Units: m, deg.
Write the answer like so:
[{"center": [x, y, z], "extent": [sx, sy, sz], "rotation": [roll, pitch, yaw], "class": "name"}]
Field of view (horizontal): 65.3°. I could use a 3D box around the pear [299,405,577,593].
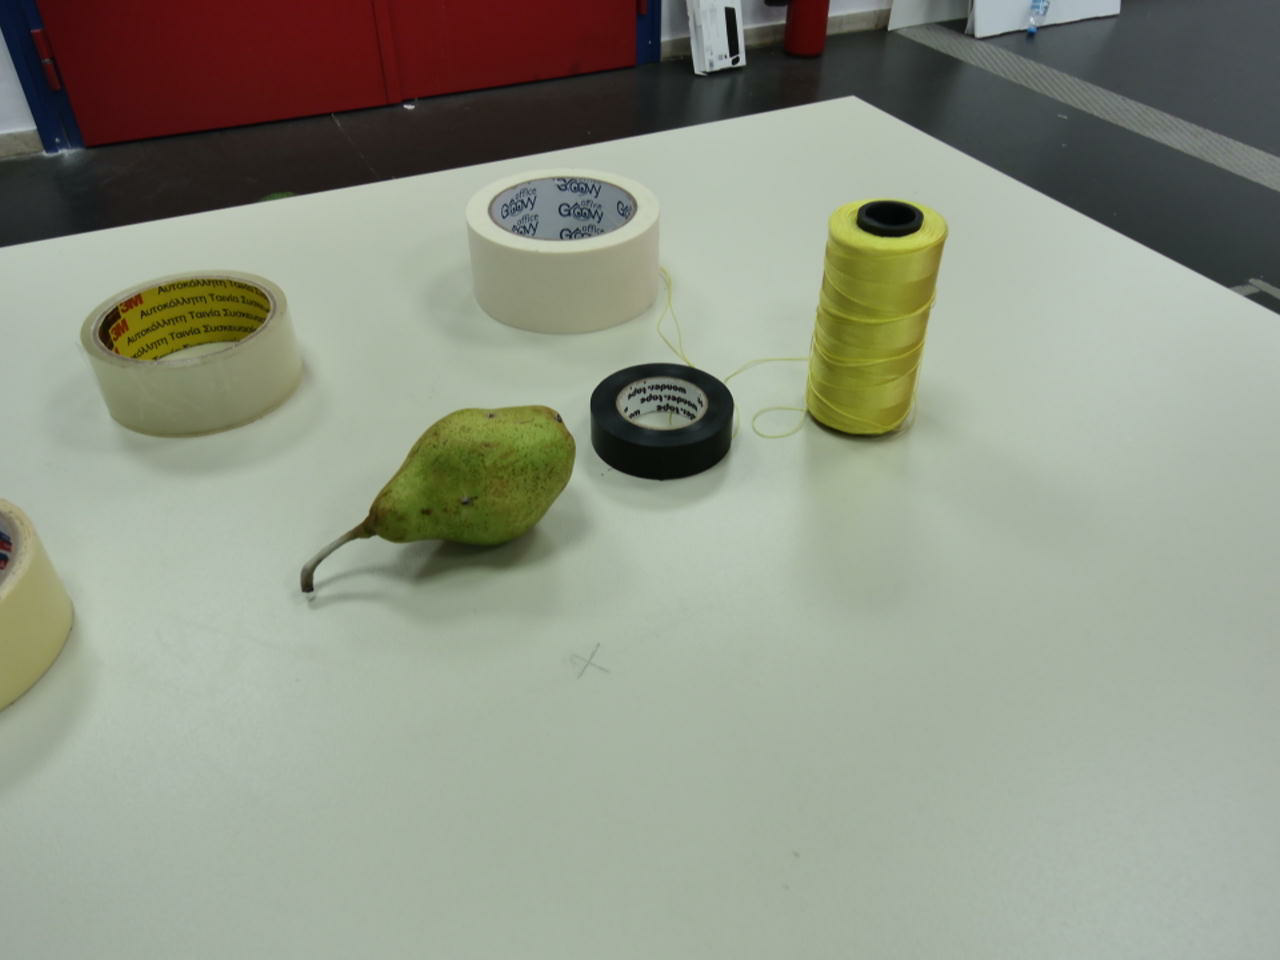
[{"center": [-0.081, 0.001, 0.395], "extent": [0.111, 0.056, 0.056], "rotation": [-7, 38, -9], "class": "pear"}]
